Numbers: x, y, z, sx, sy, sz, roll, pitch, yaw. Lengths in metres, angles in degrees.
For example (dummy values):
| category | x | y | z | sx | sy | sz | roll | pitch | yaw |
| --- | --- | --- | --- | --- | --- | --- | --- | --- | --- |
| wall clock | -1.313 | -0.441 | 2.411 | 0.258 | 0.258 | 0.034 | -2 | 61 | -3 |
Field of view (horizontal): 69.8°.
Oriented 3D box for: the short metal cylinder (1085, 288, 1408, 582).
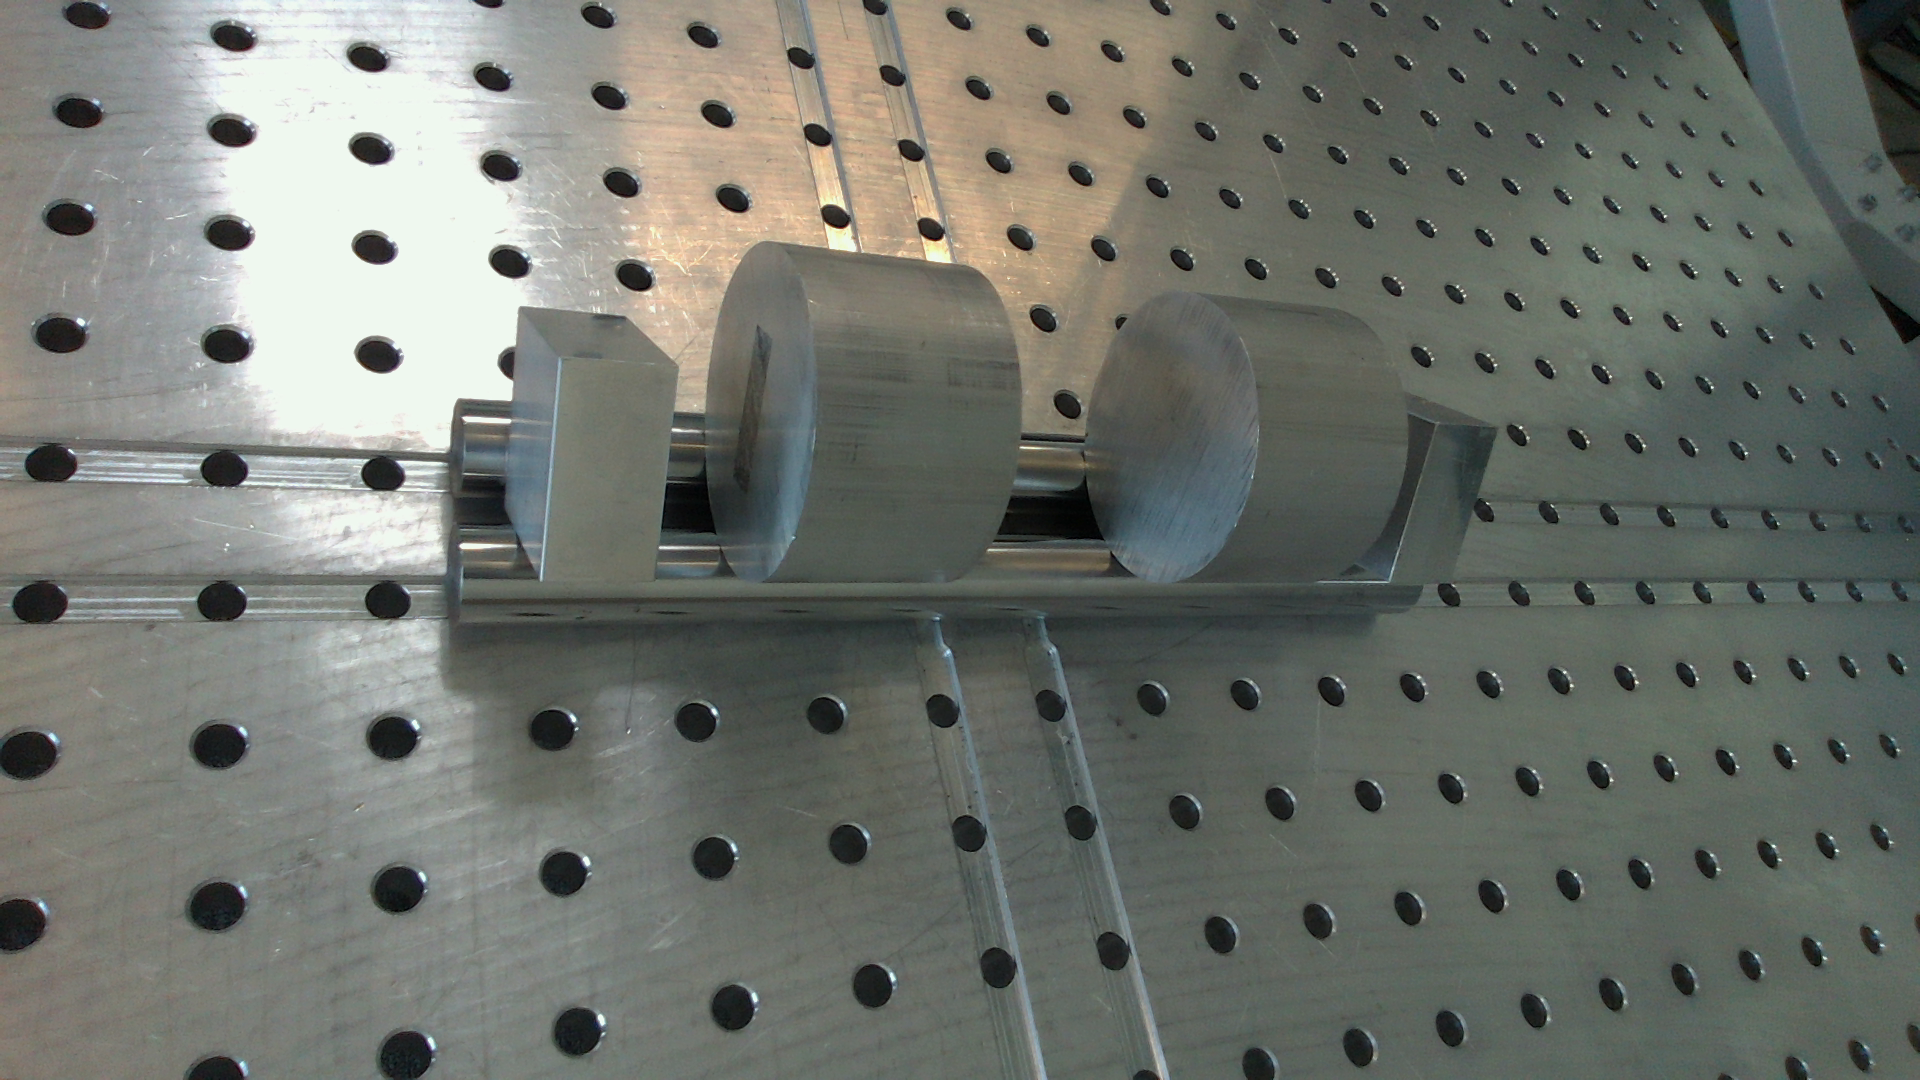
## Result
| category | x | y | z | sx | sy | sz | roll | pitch | yaw |
| --- | --- | --- | --- | --- | --- | --- | --- | --- | --- |
| short metal cylinder | 0.078 | -0.028 | 0.388 | 0.050 | 0.080 | 0.080 | 1 | 61 | -28 |

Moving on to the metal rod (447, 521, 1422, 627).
| category | x | y | z | sx | sy | sz | roll | pitch | yaw |
| --- | --- | --- | --- | --- | --- | --- | --- | --- | --- |
| metal rod | 0.014 | 0.010 | 0.394 | 0.301 | 0.025 | 0.025 | 1 | 61 | -28 |

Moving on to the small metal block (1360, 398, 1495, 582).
| category | x | y | z | sx | sy | sz | roll | pitch | yaw |
| --- | --- | --- | --- | --- | --- | --- | --- | --- | --- |
| small metal block | 0.133 | -0.019 | 0.431 | 0.025 | 0.050 | 0.050 | 0 | 20 | -27 |

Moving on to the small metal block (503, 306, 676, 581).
| category | x | y | z | sx | sy | sz | roll | pitch | yaw |
| --- | --- | --- | --- | --- | --- | --- | --- | --- | --- |
| small metal block | -0.086 | -0.023 | 0.315 | 0.025 | 0.050 | 0.050 | 1 | 19 | -27 |

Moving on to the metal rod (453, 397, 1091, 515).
| category | x | y | z | sx | sy | sz | roll | pitch | yaw |
| --- | --- | --- | --- | --- | --- | --- | --- | --- | --- |
| metal rod | 0.009 | -0.021 | 0.410 | 0.301 | 0.025 | 0.025 | 1 | 61 | -28 |

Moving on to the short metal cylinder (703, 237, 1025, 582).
| category | x | y | z | sx | sy | sz | roll | pitch | yaw |
| --- | --- | --- | --- | --- | --- | --- | --- | --- | --- |
| short metal cylinder | -0.026 | -0.030 | 0.333 | 0.050 | 0.080 | 0.080 | 1 | 61 | -28 |
